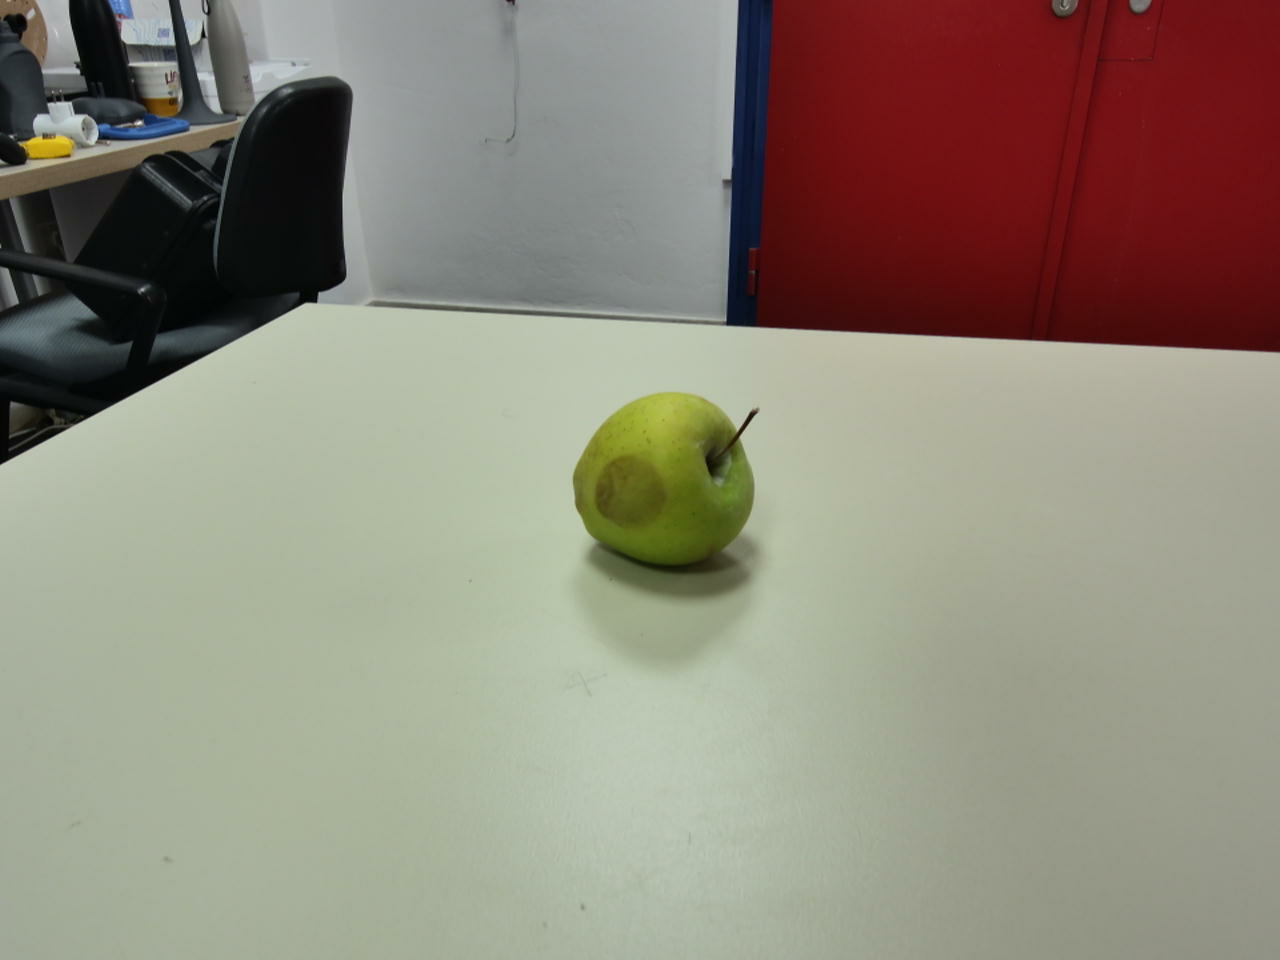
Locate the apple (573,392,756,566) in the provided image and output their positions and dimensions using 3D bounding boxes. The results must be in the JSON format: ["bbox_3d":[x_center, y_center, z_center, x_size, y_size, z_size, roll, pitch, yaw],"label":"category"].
[{"bbox_3d":[0.011,-0.002,0.435,0.072,0.075,0.077,-15,28,-30],"label":"apple"}]
